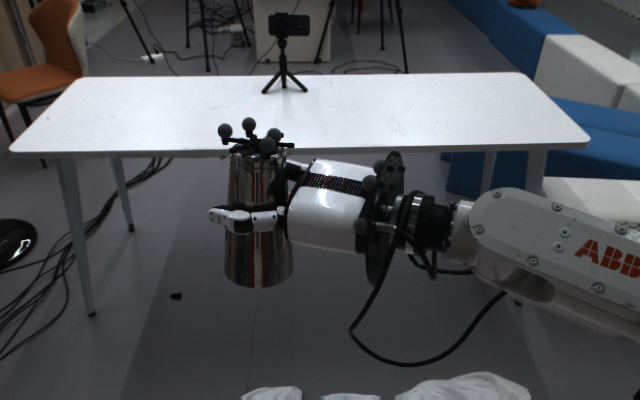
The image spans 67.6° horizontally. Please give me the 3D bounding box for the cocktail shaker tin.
[{"bbox_3d":[-0.077,0.015,0.616,0.093,0.170,0.093,2,26,-1],"label":"cocktail shaker tin"}]
